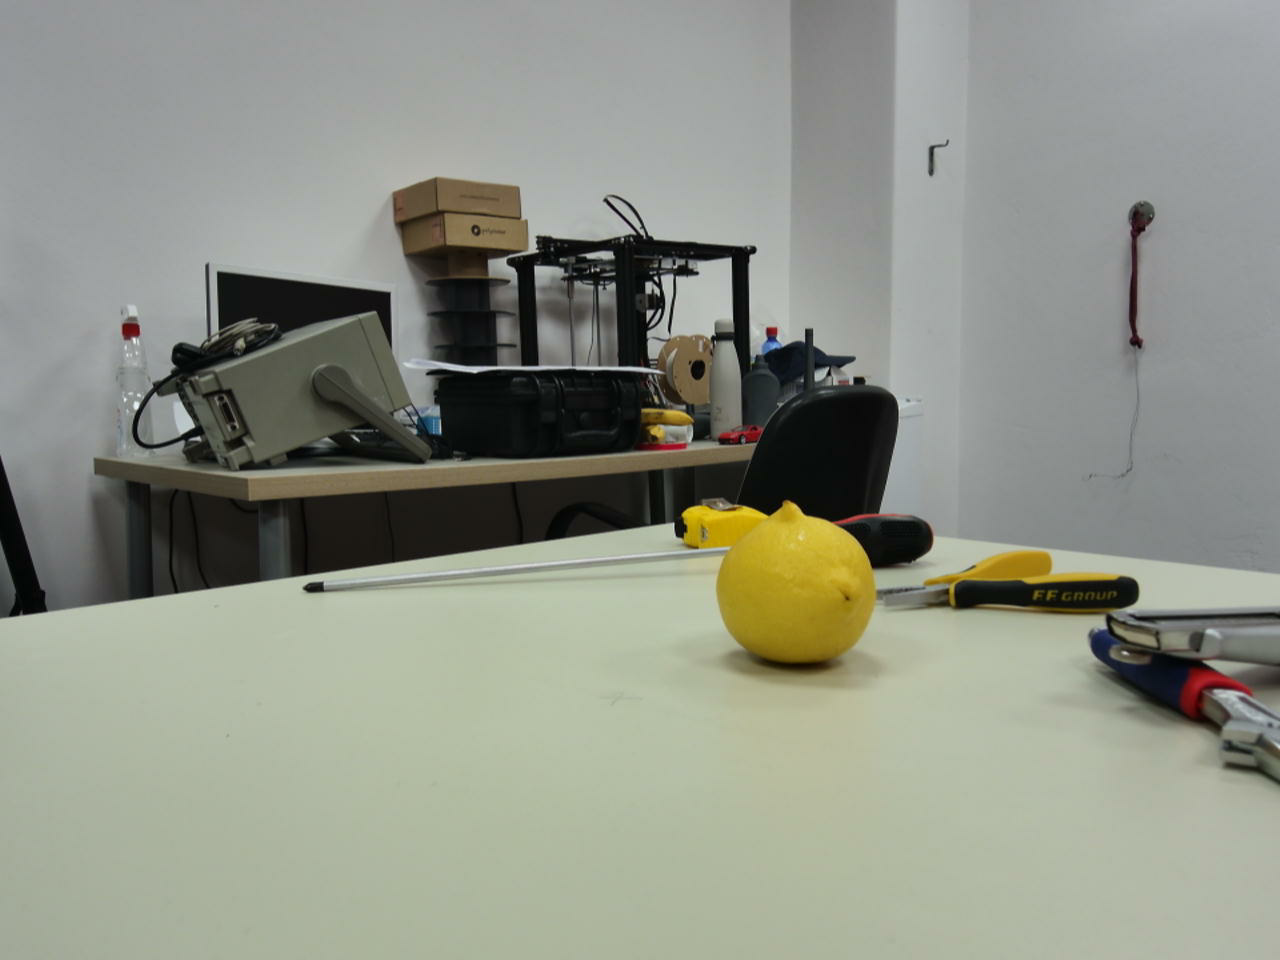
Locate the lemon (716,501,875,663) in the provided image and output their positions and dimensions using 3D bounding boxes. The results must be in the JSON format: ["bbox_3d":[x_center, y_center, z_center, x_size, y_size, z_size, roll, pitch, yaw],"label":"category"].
[{"bbox_3d":[0.070,0.046,0.450,0.070,0.071,0.071,1,3,16],"label":"lemon"}]
